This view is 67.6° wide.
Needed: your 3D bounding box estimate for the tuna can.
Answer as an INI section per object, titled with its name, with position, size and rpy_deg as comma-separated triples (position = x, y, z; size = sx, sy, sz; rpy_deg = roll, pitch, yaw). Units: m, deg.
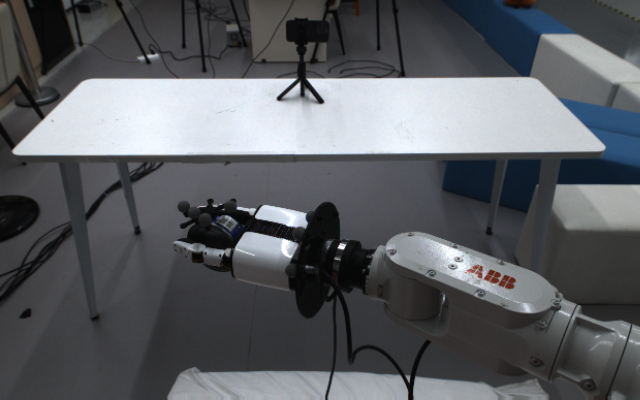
[tuna can]
position = -0.145, 0.061, 0.700
size = 0.085, 0.085, 0.034
rpy_deg = 14, 33, 16
